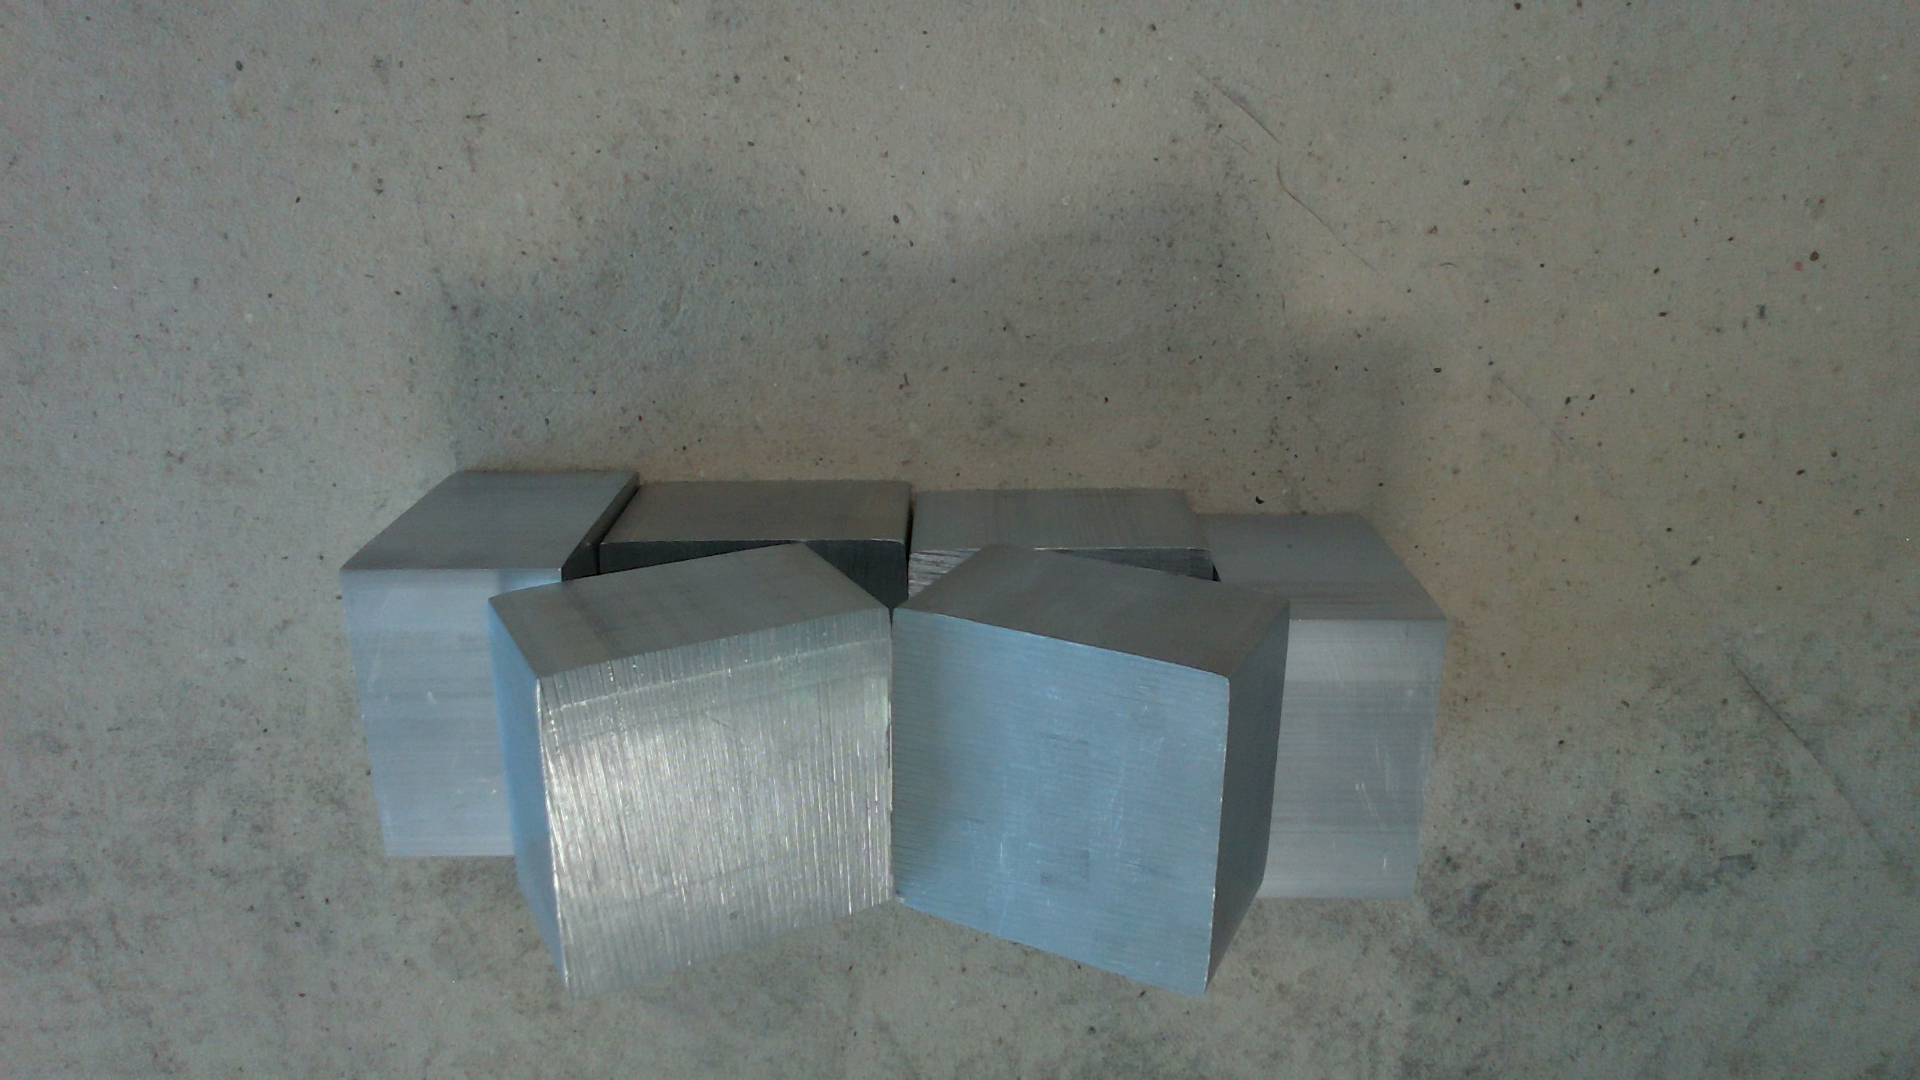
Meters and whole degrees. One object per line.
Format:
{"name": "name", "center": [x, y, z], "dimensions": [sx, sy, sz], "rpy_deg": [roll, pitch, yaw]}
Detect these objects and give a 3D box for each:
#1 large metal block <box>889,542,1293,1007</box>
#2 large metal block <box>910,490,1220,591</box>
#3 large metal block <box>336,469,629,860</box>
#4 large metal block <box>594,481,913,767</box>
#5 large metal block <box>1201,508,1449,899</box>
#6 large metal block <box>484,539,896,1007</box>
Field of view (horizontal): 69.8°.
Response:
{"name": "large metal block", "center": [0.030, 0.052, 0.331], "dimensions": [0.080, 0.050, 0.080], "rpy_deg": [11, 112, 25]}
{"name": "large metal block", "center": [0.027, 0.032, 0.391], "dimensions": [0.080, 0.050, 0.080], "rpy_deg": [0, 110, 0]}
{"name": "large metal block", "center": [-0.121, 0.030, 0.375], "dimensions": [0.050, 0.080, 0.080], "rpy_deg": [0, 109, 1]}
{"name": "large metal block", "center": [-0.054, 0.029, 0.391], "dimensions": [0.080, 0.050, 0.080], "rpy_deg": [0, 110, 0]}
{"name": "large metal block", "center": [0.092, 0.042, 0.382], "dimensions": [0.050, 0.080, 0.080], "rpy_deg": [0, 110, -1]}
{"name": "large metal block", "center": [-0.063, 0.051, 0.329], "dimensions": [0.080, 0.050, 0.080], "rpy_deg": [-11, 113, -27]}
